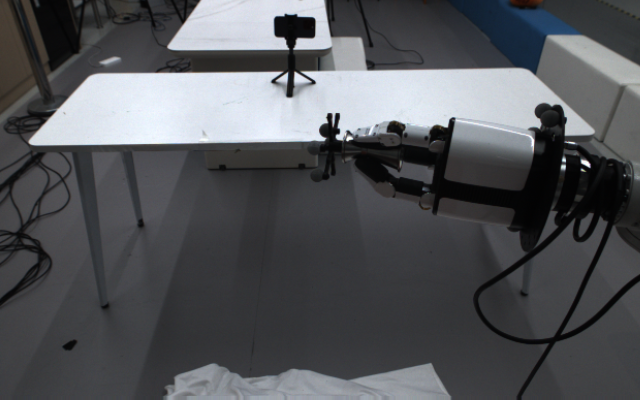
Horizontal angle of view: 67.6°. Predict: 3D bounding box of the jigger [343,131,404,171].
[{"bbox_3d":[0.069,-0.064,0.568,0.071,0.043,0.043,8,35,14],"label":"jigger"}]
